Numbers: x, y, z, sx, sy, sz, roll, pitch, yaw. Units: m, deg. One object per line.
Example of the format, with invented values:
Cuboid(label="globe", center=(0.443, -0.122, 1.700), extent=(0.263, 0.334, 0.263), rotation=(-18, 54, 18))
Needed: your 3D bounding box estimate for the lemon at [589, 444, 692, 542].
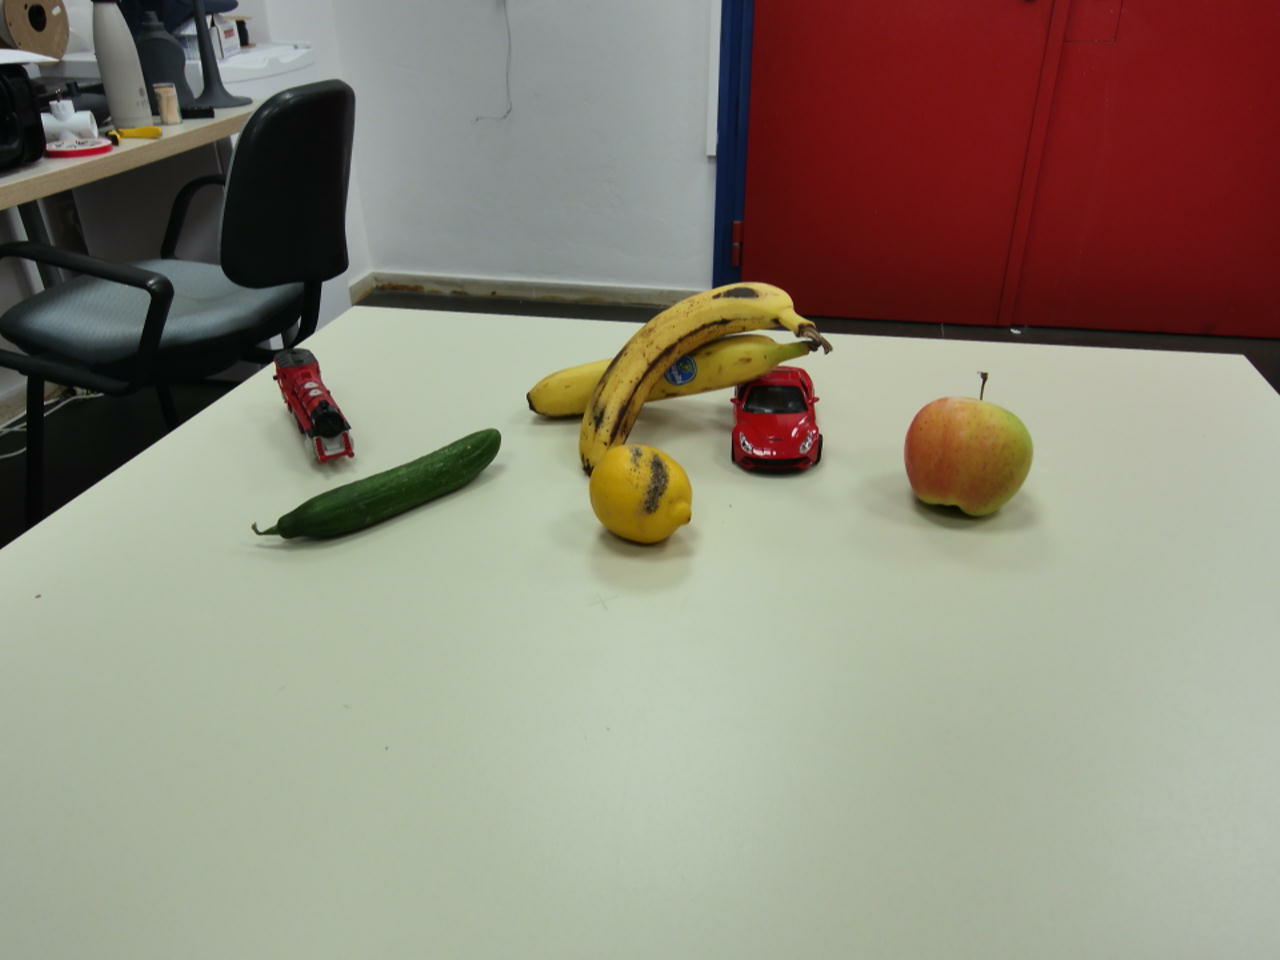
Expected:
Cuboid(label="lemon", center=(0.001, 0.007, 0.589), extent=(0.061, 0.056, 0.058), rotation=(1, 26, 4))
